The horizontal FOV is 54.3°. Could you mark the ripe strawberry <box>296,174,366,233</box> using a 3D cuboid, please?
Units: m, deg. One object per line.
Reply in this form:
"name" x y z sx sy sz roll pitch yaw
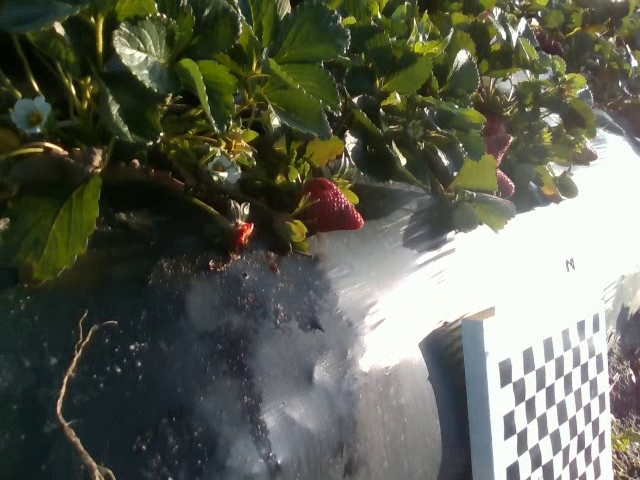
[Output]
"ripe strawberry" 0.011 -0.022 0.452 0.051 0.041 0.052 24 48 20
